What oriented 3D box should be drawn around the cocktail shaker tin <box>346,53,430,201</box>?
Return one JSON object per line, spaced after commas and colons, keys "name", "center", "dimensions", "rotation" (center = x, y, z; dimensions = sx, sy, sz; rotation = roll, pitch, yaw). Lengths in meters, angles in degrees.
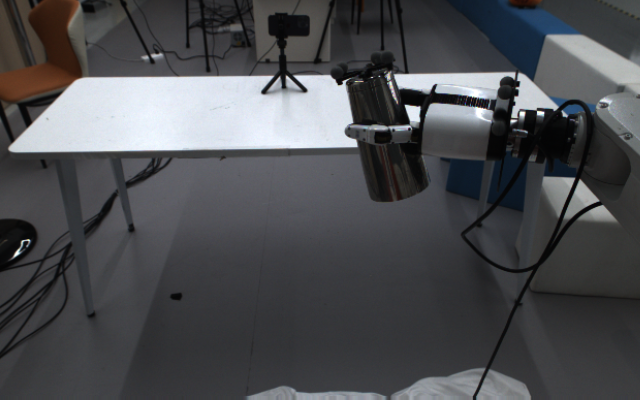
{"name": "cocktail shaker tin", "center": [0.092, -0.094, 0.686], "dimensions": [0.093, 0.170, 0.093], "rotation": [-17, 20, 7]}
